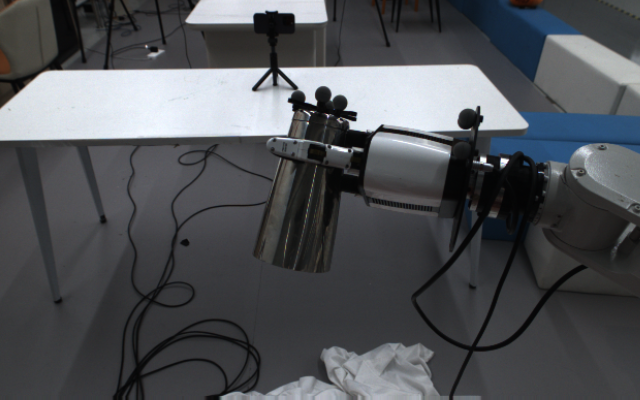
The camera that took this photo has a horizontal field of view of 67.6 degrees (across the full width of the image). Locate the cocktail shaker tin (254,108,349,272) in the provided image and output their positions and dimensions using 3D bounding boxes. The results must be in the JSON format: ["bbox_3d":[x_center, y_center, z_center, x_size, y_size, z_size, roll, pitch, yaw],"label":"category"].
[{"bbox_3d":[-0.014,-0.013,0.560,0.093,0.170,0.093,13,3,-1],"label":"cocktail shaker tin"}]
